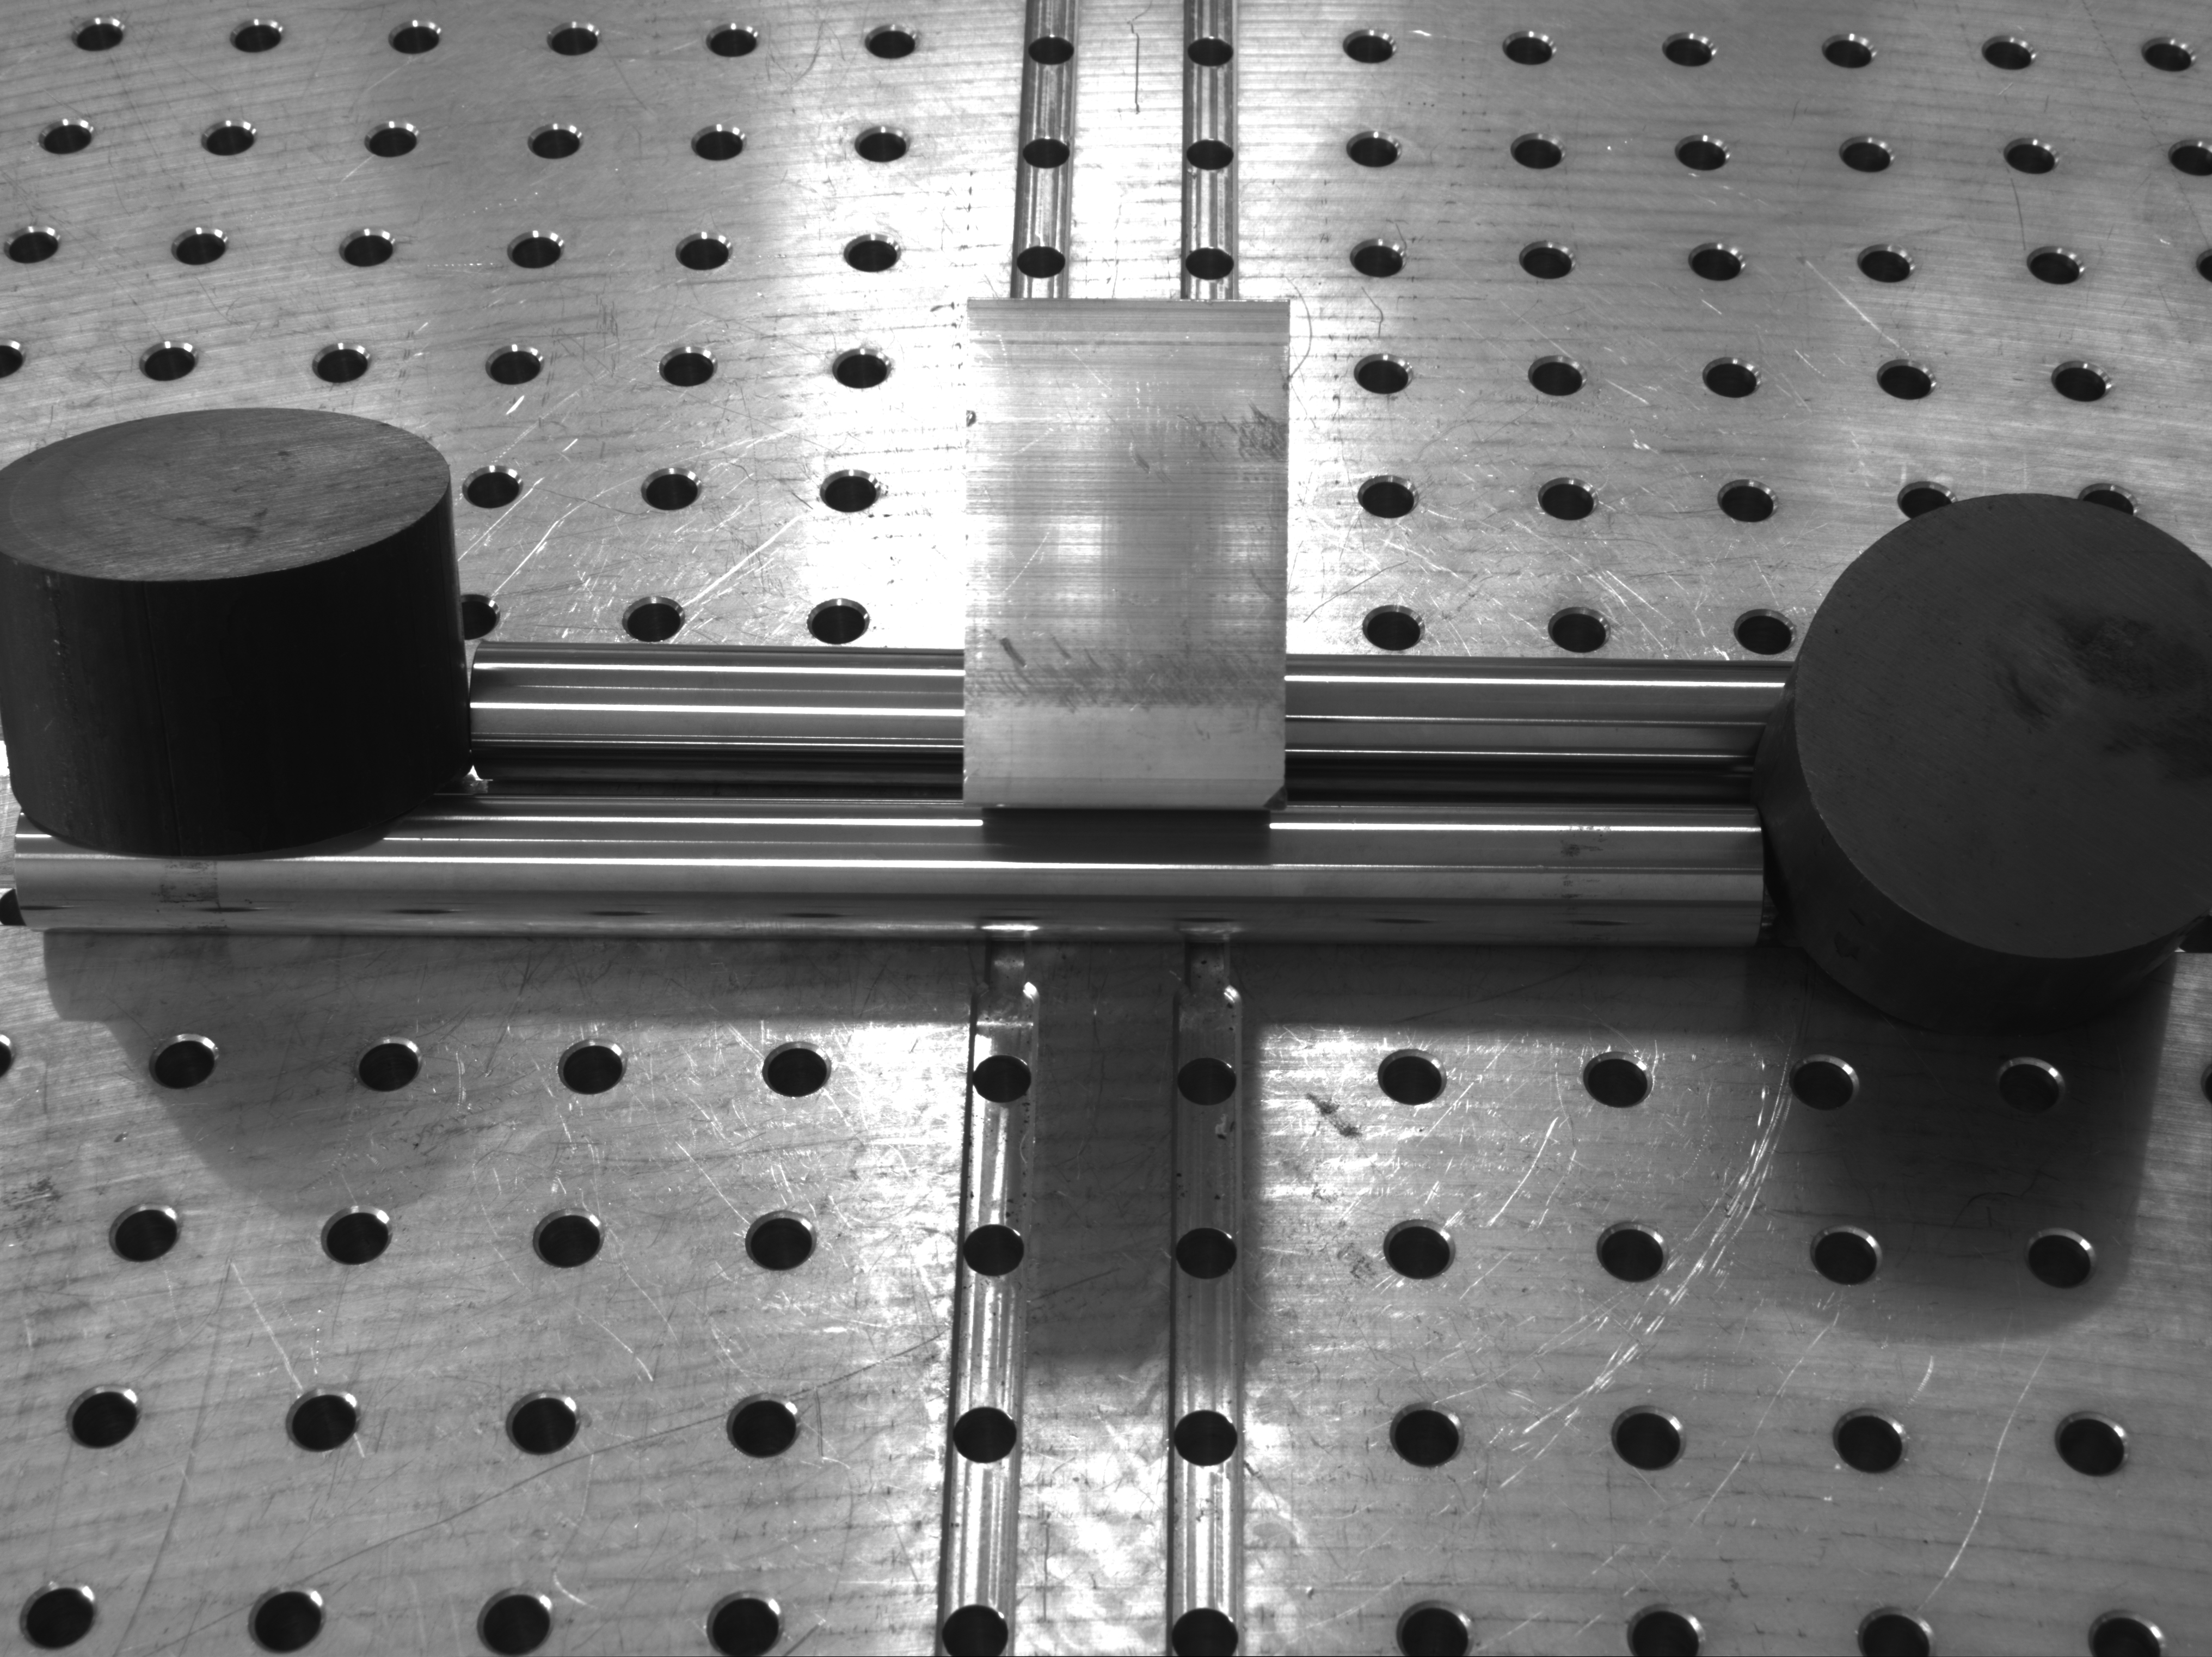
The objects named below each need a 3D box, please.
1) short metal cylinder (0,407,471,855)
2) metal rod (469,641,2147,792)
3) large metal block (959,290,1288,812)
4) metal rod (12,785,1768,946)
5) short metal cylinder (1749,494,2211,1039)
[{"bbox_3d":[-0.153,-0.036,0.641,0.080,0.050,0.080,0,27,0],"label":"short metal cylinder"},{"bbox_3d":[0.037,-0.020,0.662,0.300,0.025,0.025,1,50,1],"label":"metal rod"},{"bbox_3d":[0.003,-0.044,0.608,0.050,0.080,0.080,1,92,1],"label":"large metal block"},{"bbox_3d":[-0.037,0.006,0.640,0.300,0.025,0.025,1,50,1],"label":"metal rod"},{"bbox_3d":[0.152,-0.010,0.620,0.080,0.050,0.080,0,72,1],"label":"short metal cylinder"}]
